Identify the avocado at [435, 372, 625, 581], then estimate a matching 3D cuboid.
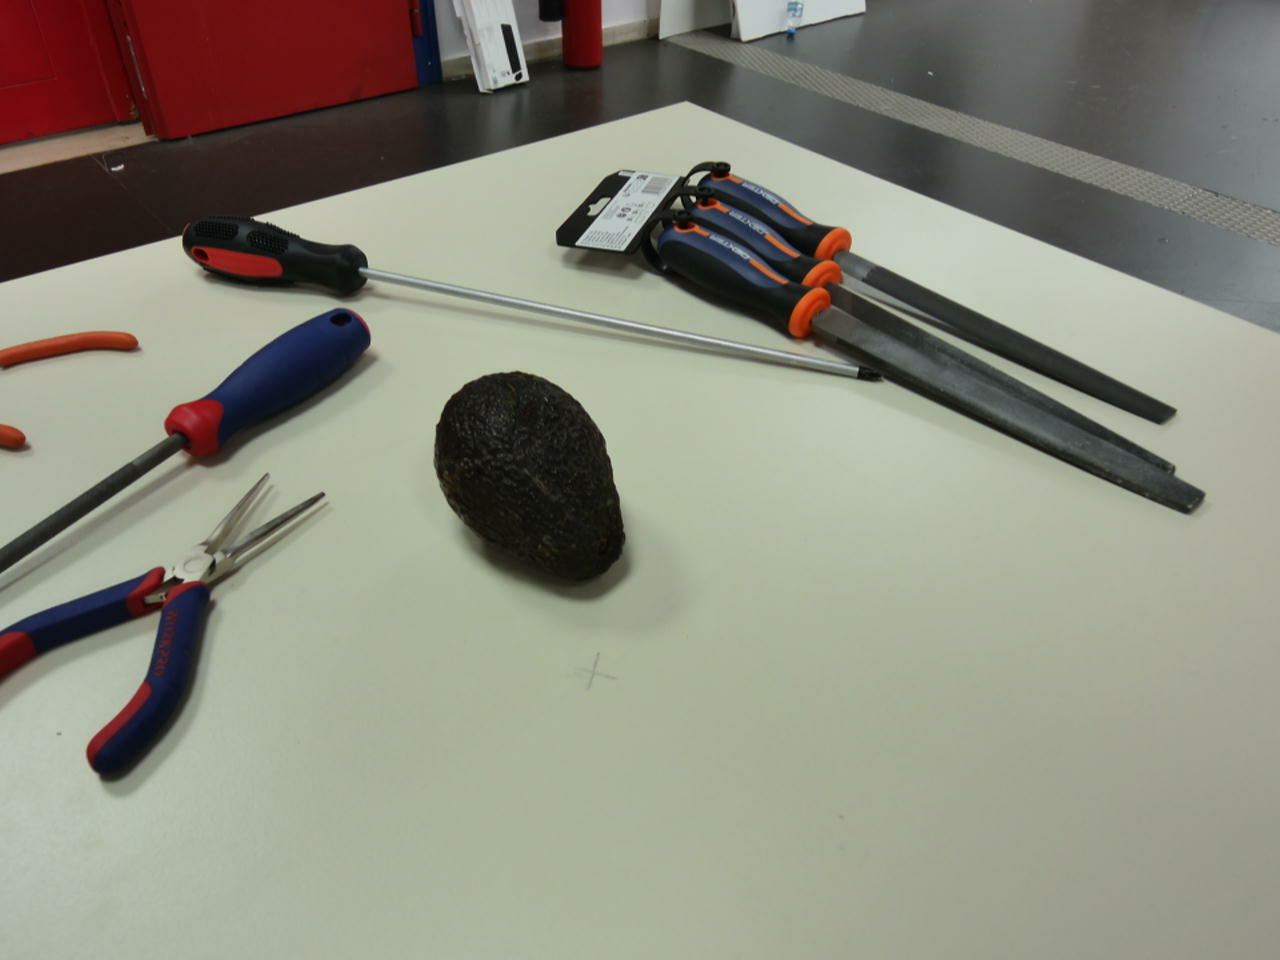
[{"bbox_3d":[-0.047,-0.004,0.405,0.070,0.069,0.090,-9,38,-12],"label":"avocado"}]
